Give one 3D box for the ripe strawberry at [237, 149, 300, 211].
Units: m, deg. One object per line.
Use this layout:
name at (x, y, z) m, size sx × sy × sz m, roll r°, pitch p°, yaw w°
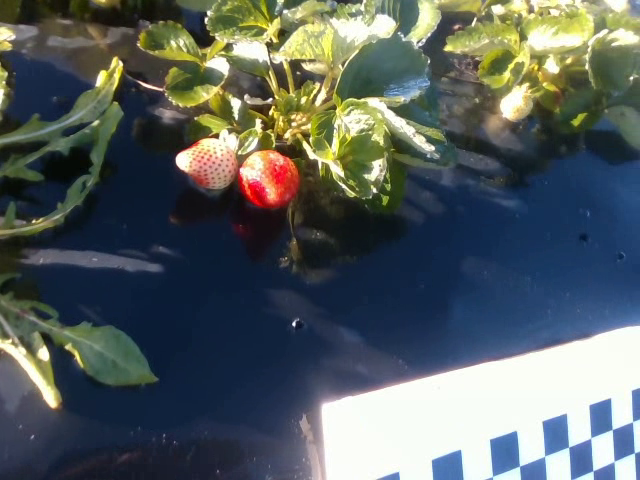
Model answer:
ripe strawberry at (-0.026, -0.033, 0.336) m, size 0.040 × 0.038 × 0.056 m, roll -21°, pitch 13°, yaw 1°
